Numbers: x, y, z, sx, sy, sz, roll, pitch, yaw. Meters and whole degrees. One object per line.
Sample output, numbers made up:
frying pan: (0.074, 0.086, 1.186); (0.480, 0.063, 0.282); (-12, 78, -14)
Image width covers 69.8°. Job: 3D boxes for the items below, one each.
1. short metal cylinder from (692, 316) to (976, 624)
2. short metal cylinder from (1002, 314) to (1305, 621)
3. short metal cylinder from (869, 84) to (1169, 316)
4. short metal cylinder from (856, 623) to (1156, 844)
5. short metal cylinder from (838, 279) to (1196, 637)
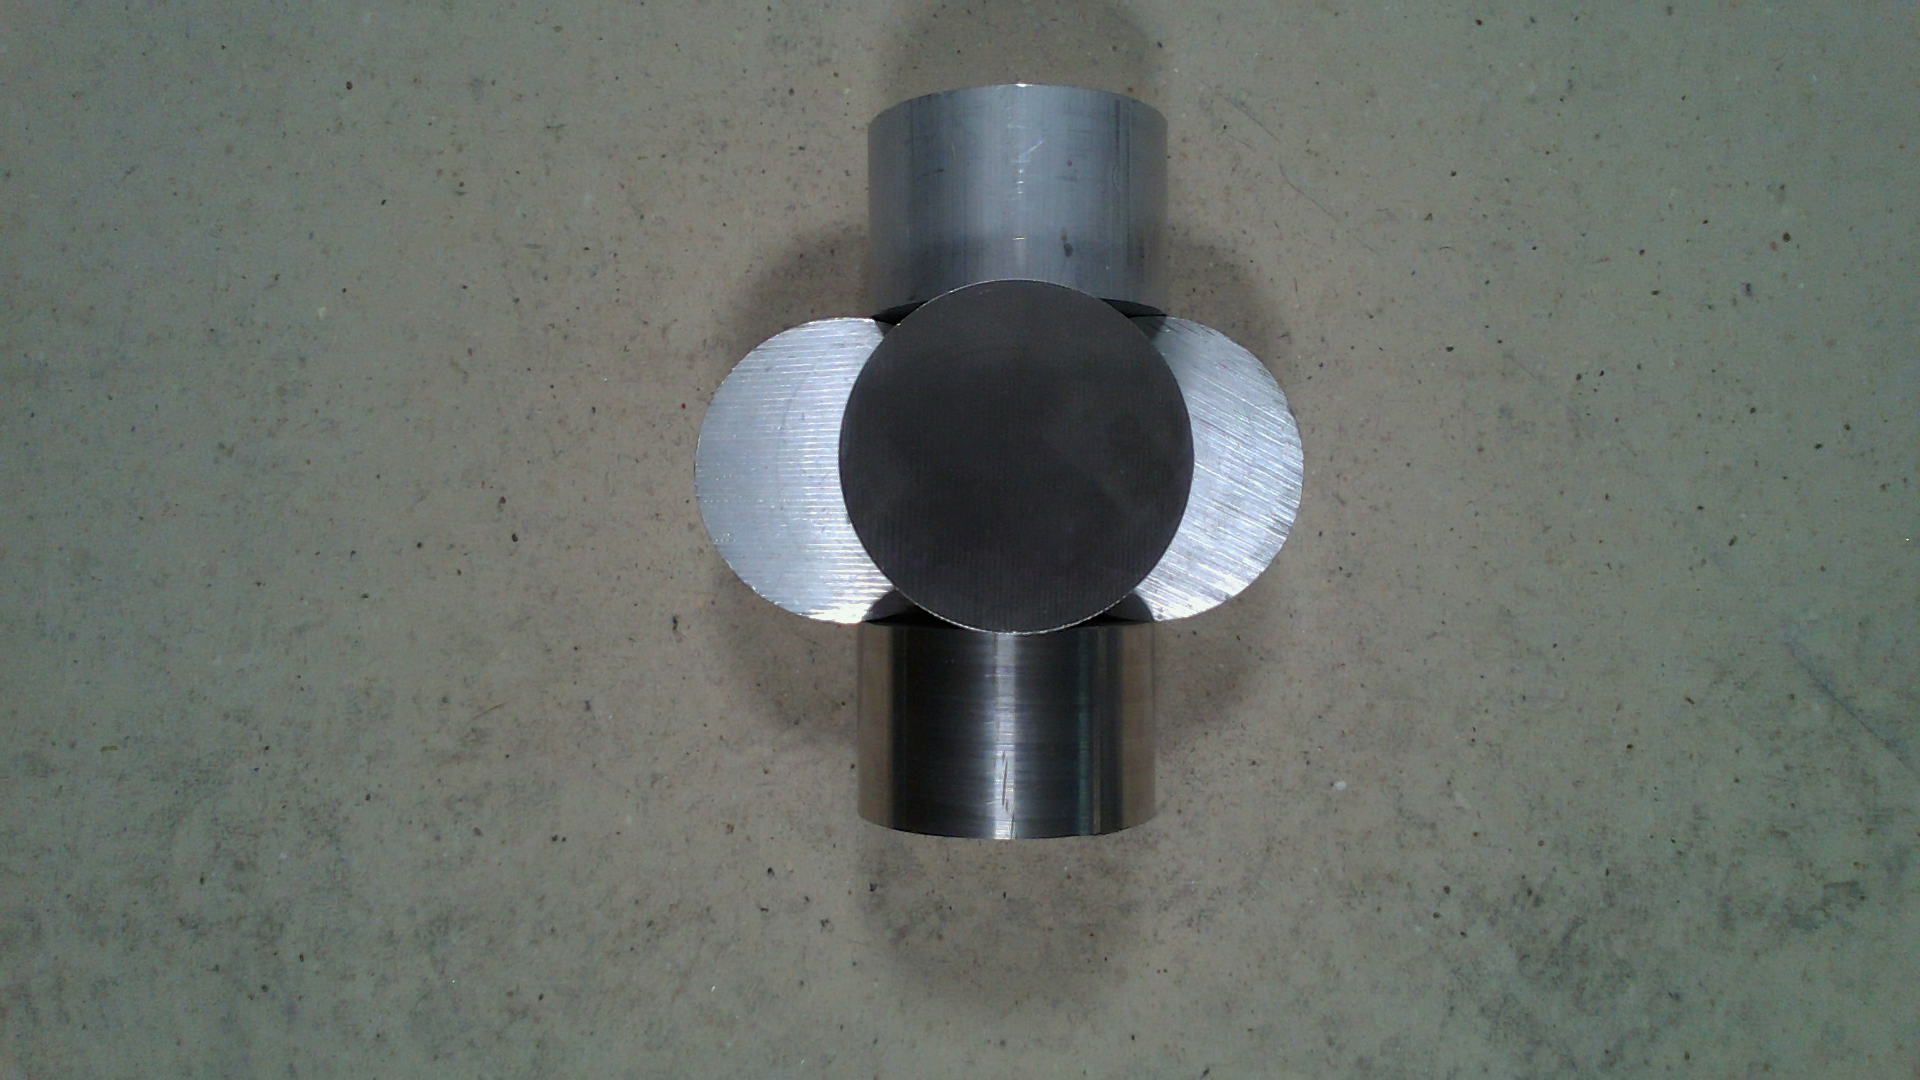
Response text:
short metal cylinder: (-0.030, -0.018, 0.383); (0.080, 0.050, 0.080); (0, 90, 0)
short metal cylinder: (0.050, -0.019, 0.383); (0.080, 0.050, 0.080); (0, 90, 0)
short metal cylinder: (0.016, -0.084, 0.368); (0.080, 0.080, 0.050); (0, 90, 0)
short metal cylinder: (0.012, 0.048, 0.369); (0.080, 0.080, 0.050); (0, 90, 0)
short metal cylinder: (0.013, -0.018, 0.332); (0.080, 0.050, 0.080); (0, 90, 0)
